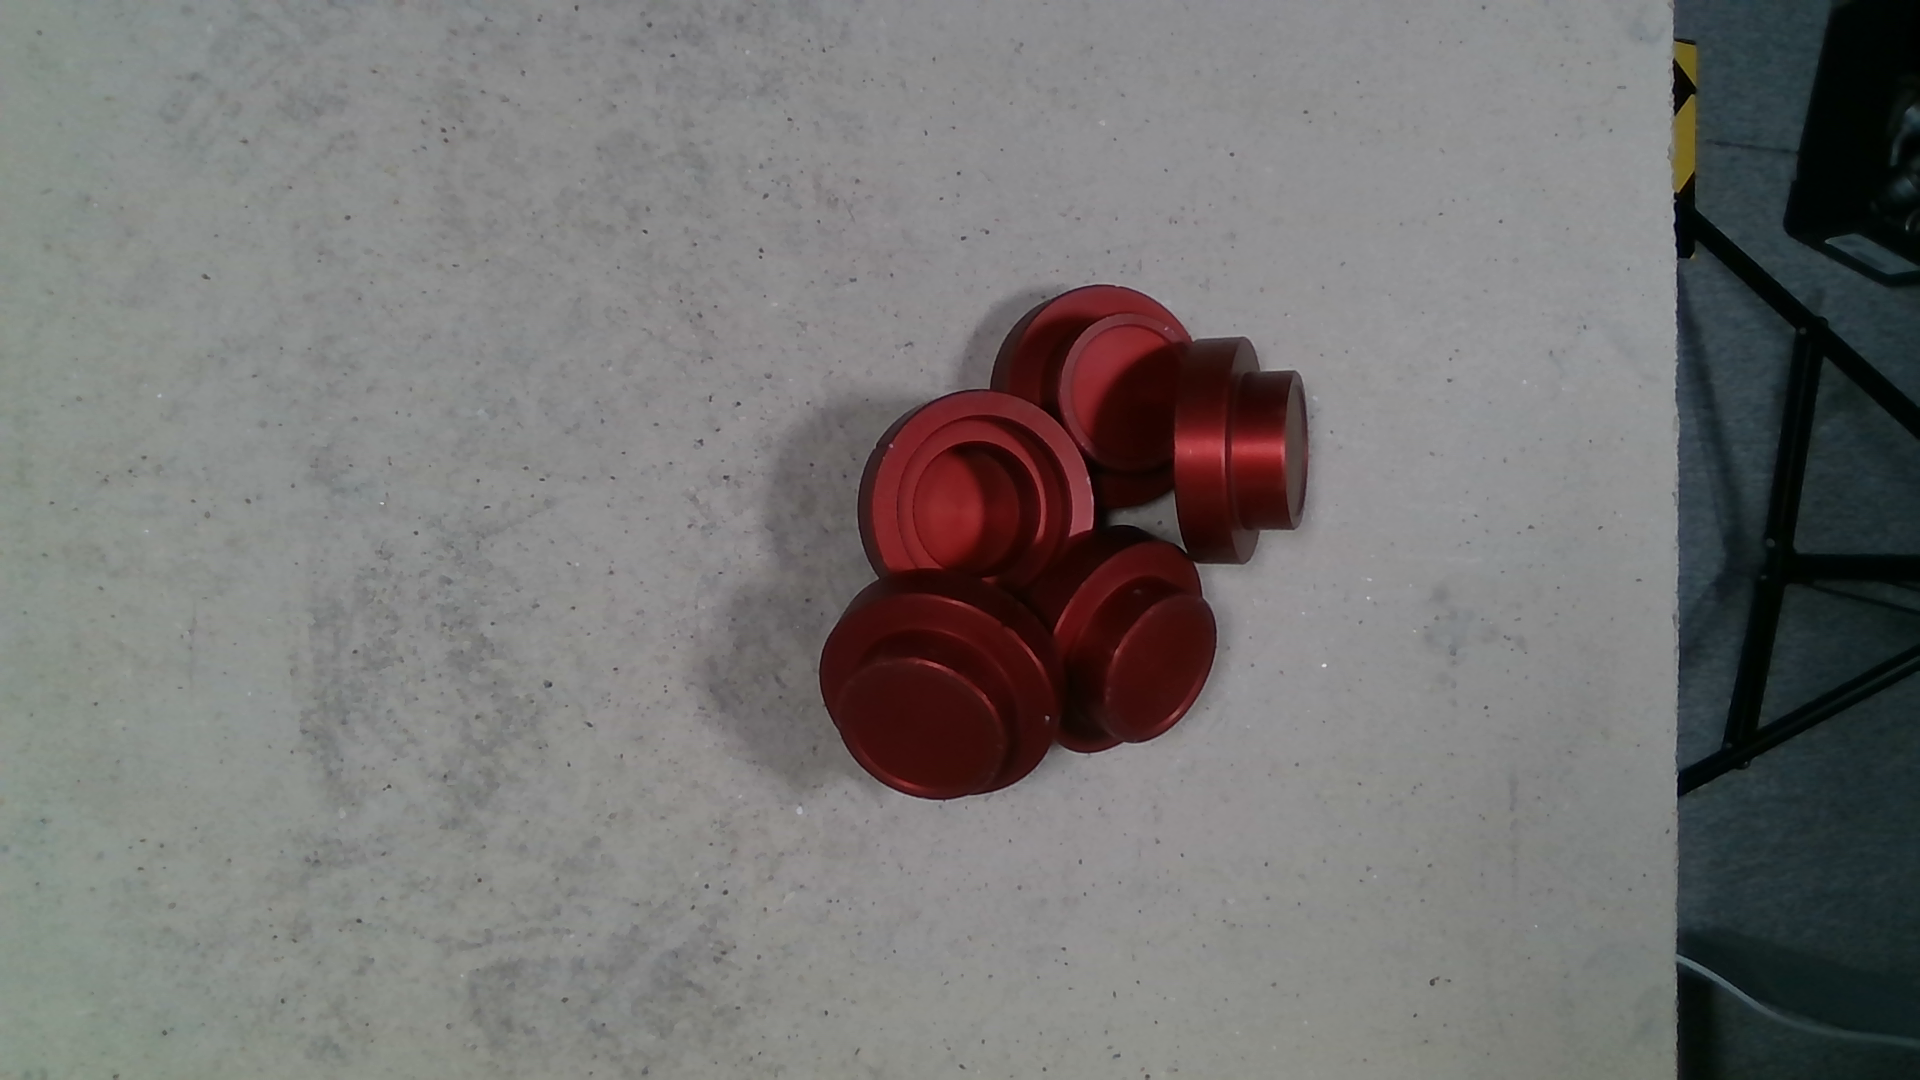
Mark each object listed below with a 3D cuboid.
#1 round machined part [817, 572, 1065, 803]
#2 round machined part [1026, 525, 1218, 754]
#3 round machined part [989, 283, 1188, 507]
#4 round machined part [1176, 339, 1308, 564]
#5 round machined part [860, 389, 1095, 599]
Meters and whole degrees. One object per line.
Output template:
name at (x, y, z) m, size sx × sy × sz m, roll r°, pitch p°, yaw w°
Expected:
round machined part at (-0.011, 0.065, 0.544) m, size 0.098 × 0.098 × 0.042 m, roll 49°, pitch 34°, yaw -14°
round machined part at (0.071, 0.046, 0.580) m, size 0.098 × 0.042 × 0.098 m, roll -22°, pitch 125°, yaw -35°
round machined part at (0.065, -0.064, 0.602) m, size 0.098 × 0.042 × 0.098 m, roll 0°, pitch 90°, yaw -20°
round machined part at (0.124, -0.038, 0.592) m, size 0.042 × 0.098 × 0.098 m, roll 1°, pitch 90°, yaw 21°
round machined part at (0.003, -0.012, 0.578) m, size 0.098 × 0.042 × 0.098 m, roll 0°, pitch 90°, yaw -20°
